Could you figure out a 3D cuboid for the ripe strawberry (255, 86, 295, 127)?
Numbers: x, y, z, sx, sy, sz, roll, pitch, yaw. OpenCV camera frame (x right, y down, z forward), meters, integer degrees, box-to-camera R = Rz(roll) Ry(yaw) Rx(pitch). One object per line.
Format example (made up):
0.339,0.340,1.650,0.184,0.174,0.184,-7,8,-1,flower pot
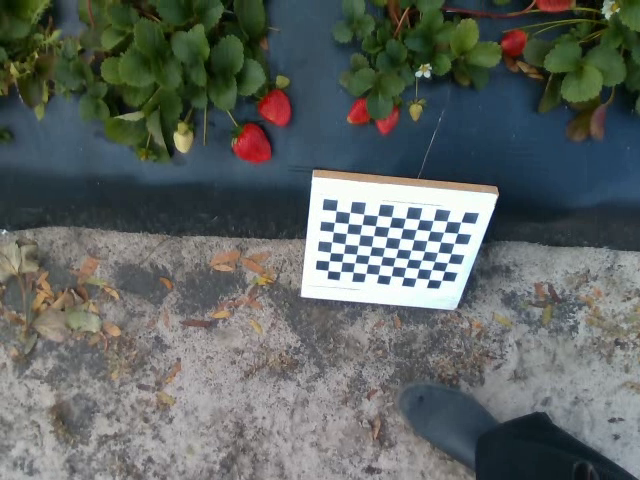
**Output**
-0.065,-0.195,0.928,0.051,0.060,0.051,-17,-23,-41,ripe strawberry

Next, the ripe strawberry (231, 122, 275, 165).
-0.102,-0.143,0.946,0.058,0.065,0.044,-43,11,41,ripe strawberry

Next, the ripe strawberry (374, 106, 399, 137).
0.100,-0.176,0.919,0.043,0.049,0.041,2,-18,3,ripe strawberry

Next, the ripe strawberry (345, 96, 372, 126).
0.058,-0.190,0.925,0.053,0.047,0.039,-34,47,-9,ripe strawberry
